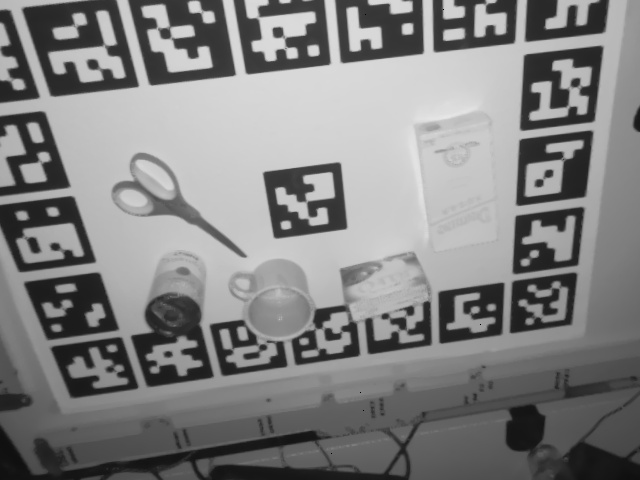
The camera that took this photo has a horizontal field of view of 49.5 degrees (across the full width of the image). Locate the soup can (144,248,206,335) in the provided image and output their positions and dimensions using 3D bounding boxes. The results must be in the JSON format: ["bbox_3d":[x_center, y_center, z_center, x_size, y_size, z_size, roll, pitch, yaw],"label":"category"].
[{"bbox_3d":[-0.181,0.063,0.879,0.068,0.102,0.067,-3,119,-4],"label":"soup can"}]

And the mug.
[{"bbox_3d":[-0.062,0.084,0.904,0.092,0.082,0.117,-40,115,12],"label":"mug"}]

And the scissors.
[{"bbox_3d":[-0.169,-0.039,0.866,0.204,0.016,0.087,38,98,-20],"label":"scissors"}]

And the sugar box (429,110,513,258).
[{"bbox_3d":[0.193,-0.069,0.877,0.093,0.045,0.175,-10,116,-2],"label":"sugar box"}]

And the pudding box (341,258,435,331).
[{"bbox_3d":[0.087,0.070,0.904,0.114,0.090,0.038,-15,111,3],"label":"pudding box"}]
